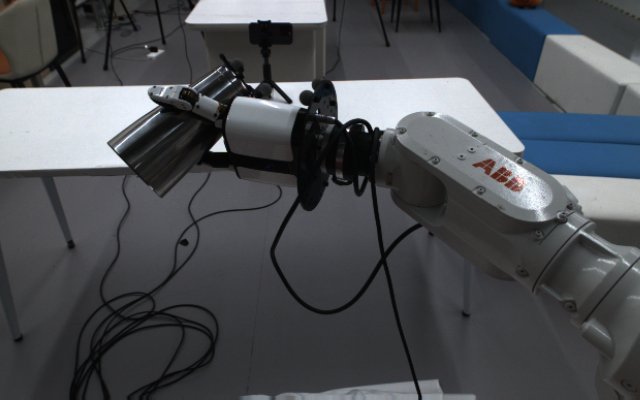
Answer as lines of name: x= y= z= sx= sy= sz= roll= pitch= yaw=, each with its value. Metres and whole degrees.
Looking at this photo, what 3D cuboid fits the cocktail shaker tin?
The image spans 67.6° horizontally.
cocktail shaker tin: x=-0.170 y=-0.097 z=0.616 sx=0.170 sy=0.093 sz=0.093 roll=-43 pitch=50 yaw=-14
